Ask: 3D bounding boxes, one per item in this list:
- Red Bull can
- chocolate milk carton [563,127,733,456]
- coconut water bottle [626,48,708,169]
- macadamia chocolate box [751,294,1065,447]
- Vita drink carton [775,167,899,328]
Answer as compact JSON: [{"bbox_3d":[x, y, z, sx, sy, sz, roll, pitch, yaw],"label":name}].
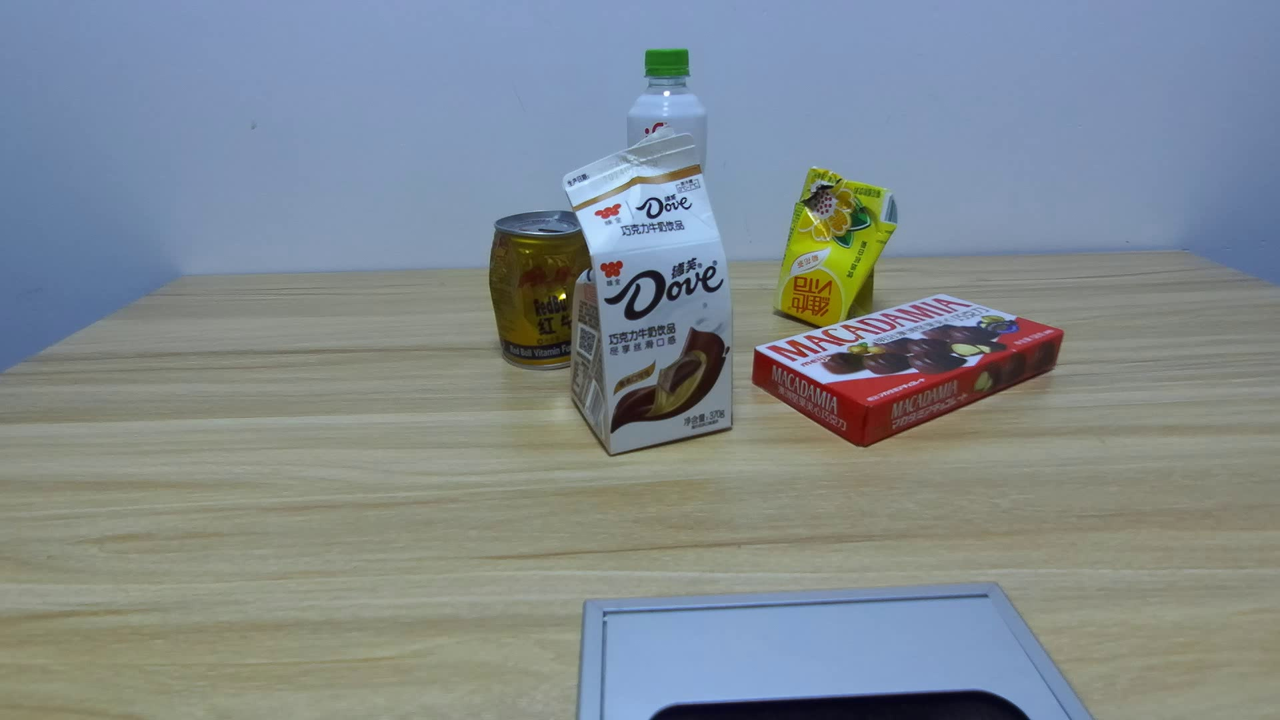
[{"bbox_3d":[-0.063,-0.048,0.471,0.072,0.092,0.072,1,25,0],"label":"Red Bull can"},{"bbox_3d":[0.004,-0.040,0.376,0.076,0.155,0.073,-10,24,-18],"label":"chocolate milk carton"},{"bbox_3d":[0.020,-0.129,0.529,0.063,0.188,0.063,-1,19,1],"label":"coconut water bottle"},{"bbox_3d":[0.168,-0.001,0.443,0.178,0.027,0.095,-15,28,-28],"label":"macadamia chocolate box"},{"bbox_3d":[0.146,-0.080,0.521,0.042,0.108,0.086,-4,23,-44],"label":"Vita drink carton"}]
